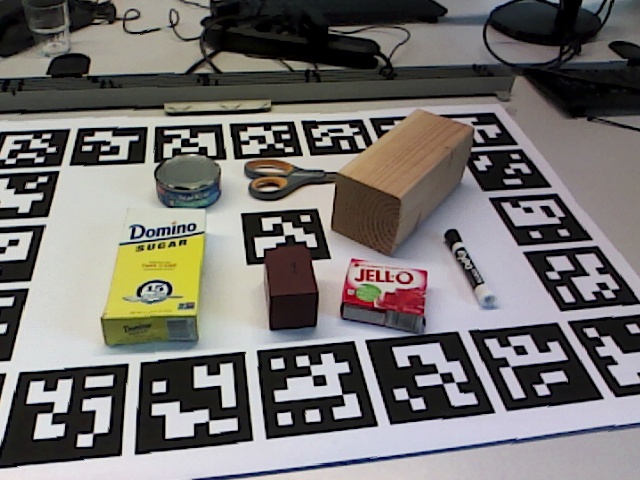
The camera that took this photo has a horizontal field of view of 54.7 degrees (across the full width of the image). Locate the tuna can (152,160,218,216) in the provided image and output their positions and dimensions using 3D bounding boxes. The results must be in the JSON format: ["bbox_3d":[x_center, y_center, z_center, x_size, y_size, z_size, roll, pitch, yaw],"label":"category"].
[{"bbox_3d":[-0.180,-0.070,0.834,0.086,0.033,0.086,2,42,-2],"label":"tuna can"}]

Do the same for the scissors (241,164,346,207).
[{"bbox_3d":[-0.011,-0.078,0.872,0.203,0.016,0.088,0,42,-1],"label":"scissors"}]

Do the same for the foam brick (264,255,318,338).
[{"bbox_3d":[-0.033,0.061,0.680,0.052,0.051,0.078,-3,43,-6],"label":"foam brick"}]

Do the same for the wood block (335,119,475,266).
[{"bbox_3d":[0.115,-0.069,0.818,0.090,0.091,0.205,26,46,25],"label":"wood block"}]

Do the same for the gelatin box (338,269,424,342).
[{"bbox_3d":[0.070,0.072,0.697,0.089,0.030,0.073,9,43,6],"label":"gelatin box"}]

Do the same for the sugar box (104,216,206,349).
[{"bbox_3d":[-0.180,0.042,0.704,0.093,0.045,0.177,0,42,-5],"label":"sugar box"}]

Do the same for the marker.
[{"bbox_3d":[0.172,0.041,0.744,0.019,0.019,0.121,-3,44,-7],"label":"marker"}]
